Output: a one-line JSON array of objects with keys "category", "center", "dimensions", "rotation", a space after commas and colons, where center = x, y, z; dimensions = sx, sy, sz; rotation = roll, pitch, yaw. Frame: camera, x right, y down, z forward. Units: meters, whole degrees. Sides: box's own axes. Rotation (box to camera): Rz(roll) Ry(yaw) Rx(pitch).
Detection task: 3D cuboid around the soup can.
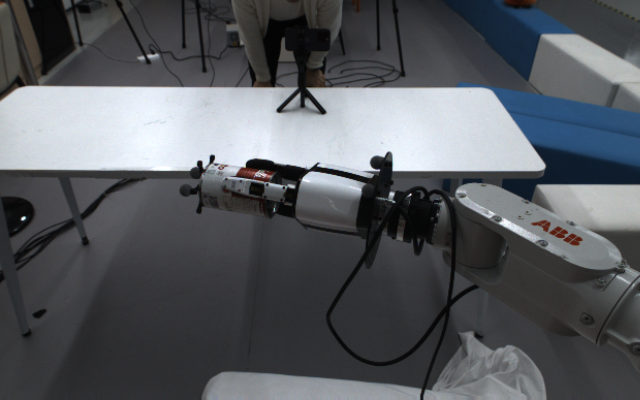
[{"category": "soup can", "center": [-0.111, -0.013, 0.694], "dimensions": [0.101, 0.067, 0.067], "rotation": [9, 35, 11]}]
